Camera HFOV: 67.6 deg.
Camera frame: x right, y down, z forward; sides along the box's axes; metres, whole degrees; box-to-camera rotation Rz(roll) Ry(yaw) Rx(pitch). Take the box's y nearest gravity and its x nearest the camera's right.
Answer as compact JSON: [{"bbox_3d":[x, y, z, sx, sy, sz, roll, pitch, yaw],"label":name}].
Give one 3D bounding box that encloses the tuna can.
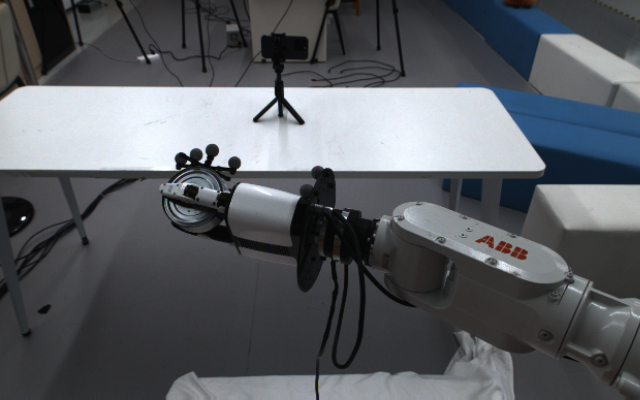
[{"bbox_3d":[-0.165,0.000,0.650,0.085,0.034,0.085,-3,68,8],"label":"tuna can"}]
